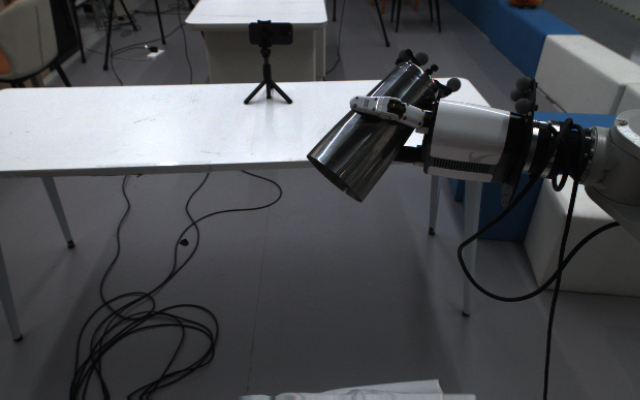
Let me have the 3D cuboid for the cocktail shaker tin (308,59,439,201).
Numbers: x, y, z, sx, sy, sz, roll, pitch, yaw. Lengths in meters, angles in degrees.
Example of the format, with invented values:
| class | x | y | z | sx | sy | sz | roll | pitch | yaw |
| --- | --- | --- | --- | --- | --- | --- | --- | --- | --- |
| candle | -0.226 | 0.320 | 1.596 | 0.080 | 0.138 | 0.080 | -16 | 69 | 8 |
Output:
| class | x | y | z | sx | sy | sz | roll | pitch | yaw |
| --- | --- | --- | --- | --- | --- | --- | --- | --- | --- |
| cocktail shaker tin | 0.073 | -0.095 | 0.618 | 0.170 | 0.093 | 0.093 | -48 | 49 | -4 |
